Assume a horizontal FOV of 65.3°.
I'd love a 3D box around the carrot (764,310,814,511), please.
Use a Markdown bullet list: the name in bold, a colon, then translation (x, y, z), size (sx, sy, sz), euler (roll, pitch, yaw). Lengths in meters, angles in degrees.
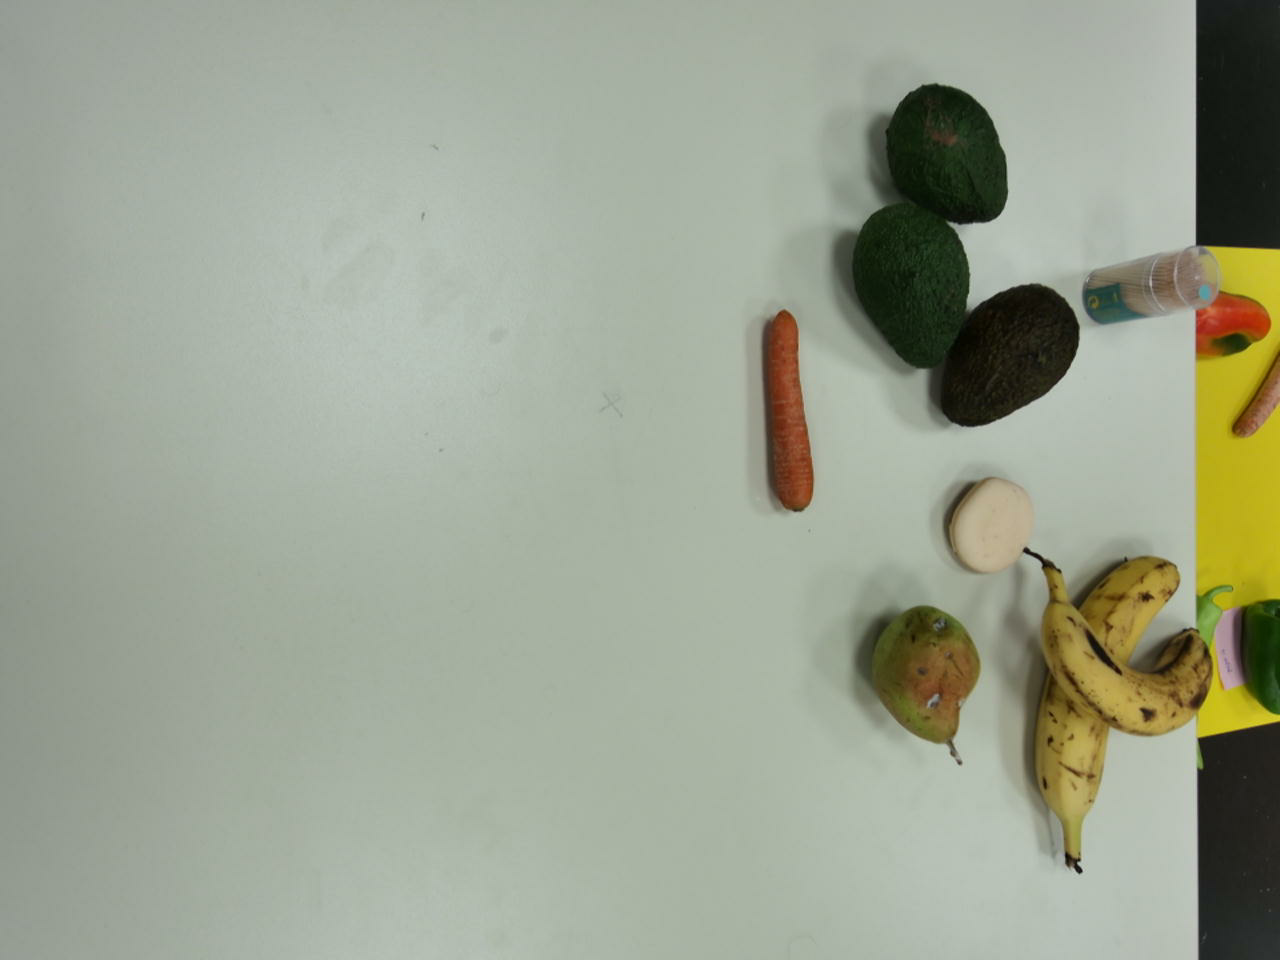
- **carrot**: translation (0.089, -0.041, 0.600), size (0.024, 0.023, 0.122), euler (-4, 92, -22)
